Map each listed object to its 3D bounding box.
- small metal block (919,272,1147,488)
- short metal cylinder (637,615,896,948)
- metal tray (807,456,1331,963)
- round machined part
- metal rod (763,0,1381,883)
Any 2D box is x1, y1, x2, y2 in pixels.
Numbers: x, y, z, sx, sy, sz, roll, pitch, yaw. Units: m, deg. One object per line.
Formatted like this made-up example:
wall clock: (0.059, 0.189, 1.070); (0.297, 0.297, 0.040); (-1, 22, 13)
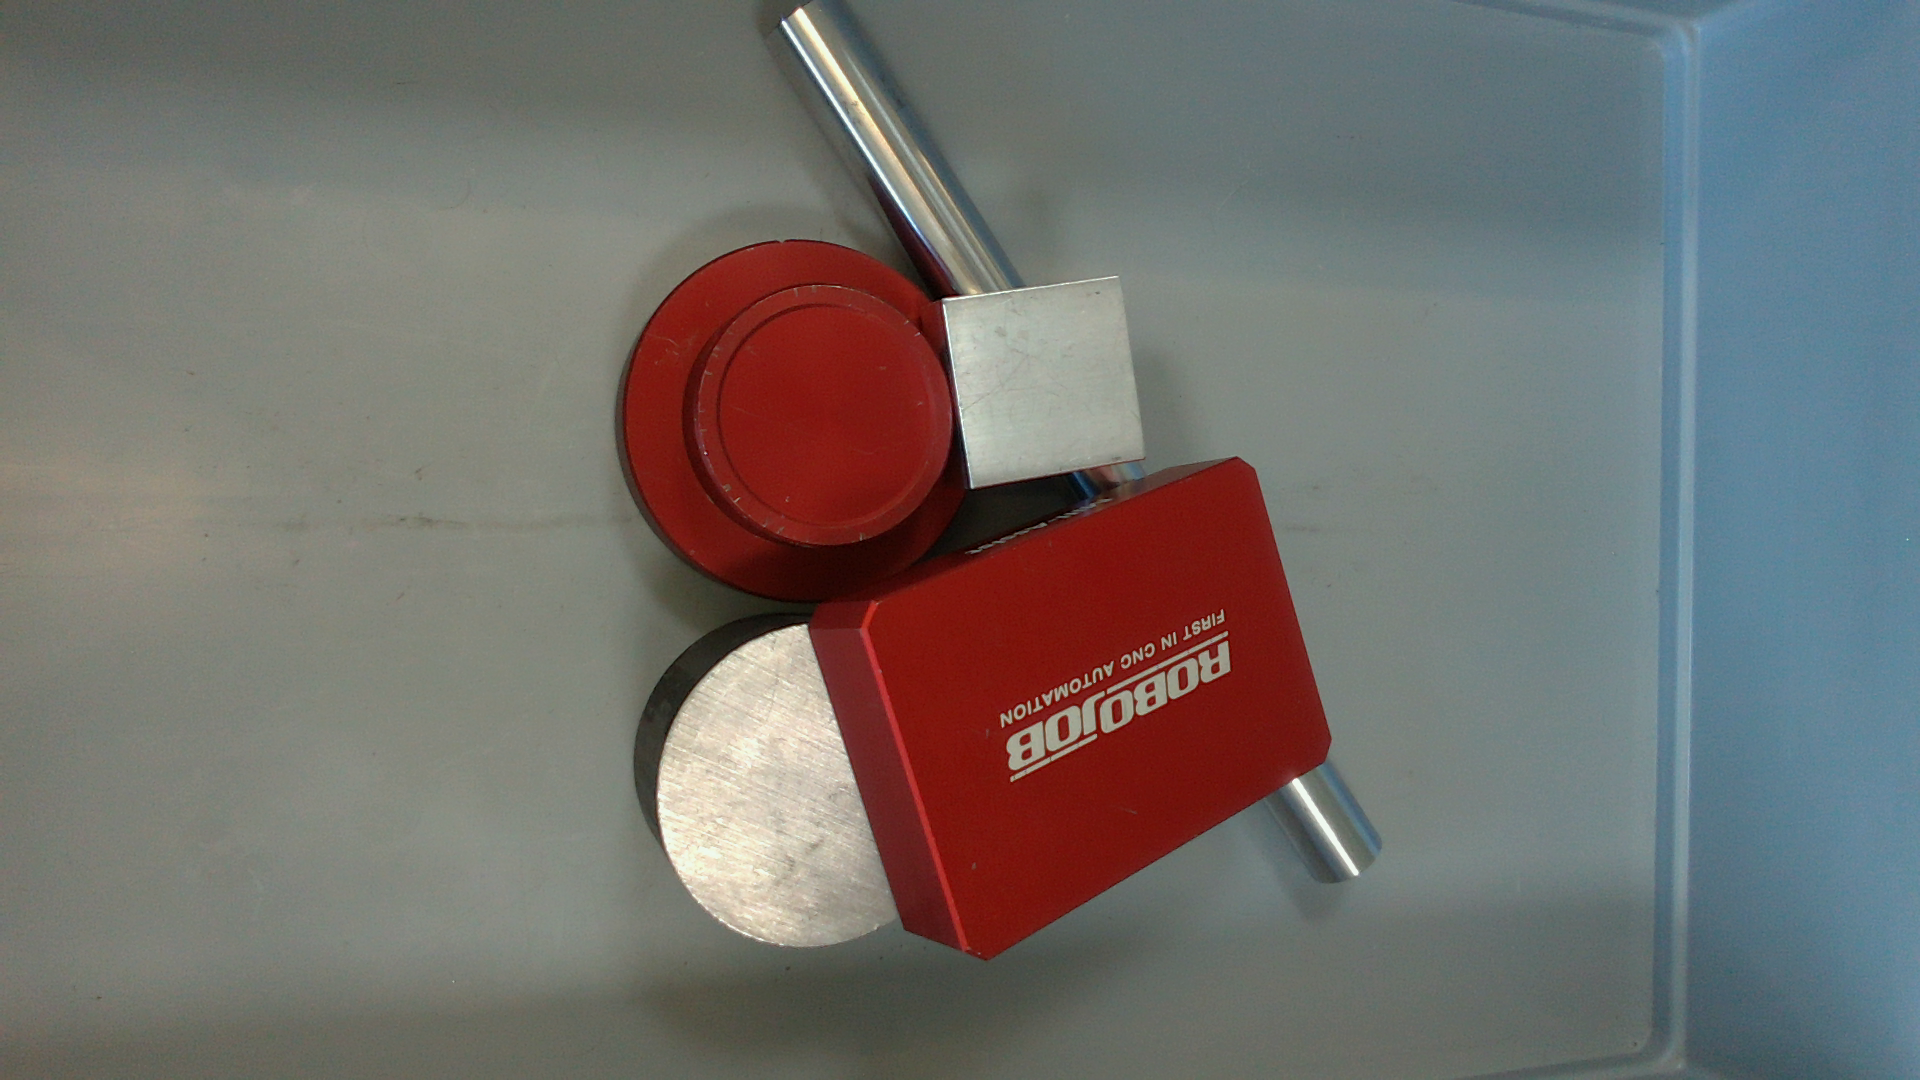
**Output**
small metal block: (0.020, -0.043, 0.374); (0.050, 0.025, 0.050); (-10, 96, -14)
short metal cylinder: (-0.043, 0.061, 0.363); (0.080, 0.050, 0.080); (0, 90, -20)
metal tray: (0.034, 0.039, 0.361); (0.130, 0.030, 0.090); (-21, 98, -31)
round machined part: (-0.040, -0.032, 0.367); (0.098, 0.042, 0.098); (0, 90, -19)
metal rod: (0.039, -0.021, 0.407); (0.025, 0.025, 0.300); (-38, 102, -16)
